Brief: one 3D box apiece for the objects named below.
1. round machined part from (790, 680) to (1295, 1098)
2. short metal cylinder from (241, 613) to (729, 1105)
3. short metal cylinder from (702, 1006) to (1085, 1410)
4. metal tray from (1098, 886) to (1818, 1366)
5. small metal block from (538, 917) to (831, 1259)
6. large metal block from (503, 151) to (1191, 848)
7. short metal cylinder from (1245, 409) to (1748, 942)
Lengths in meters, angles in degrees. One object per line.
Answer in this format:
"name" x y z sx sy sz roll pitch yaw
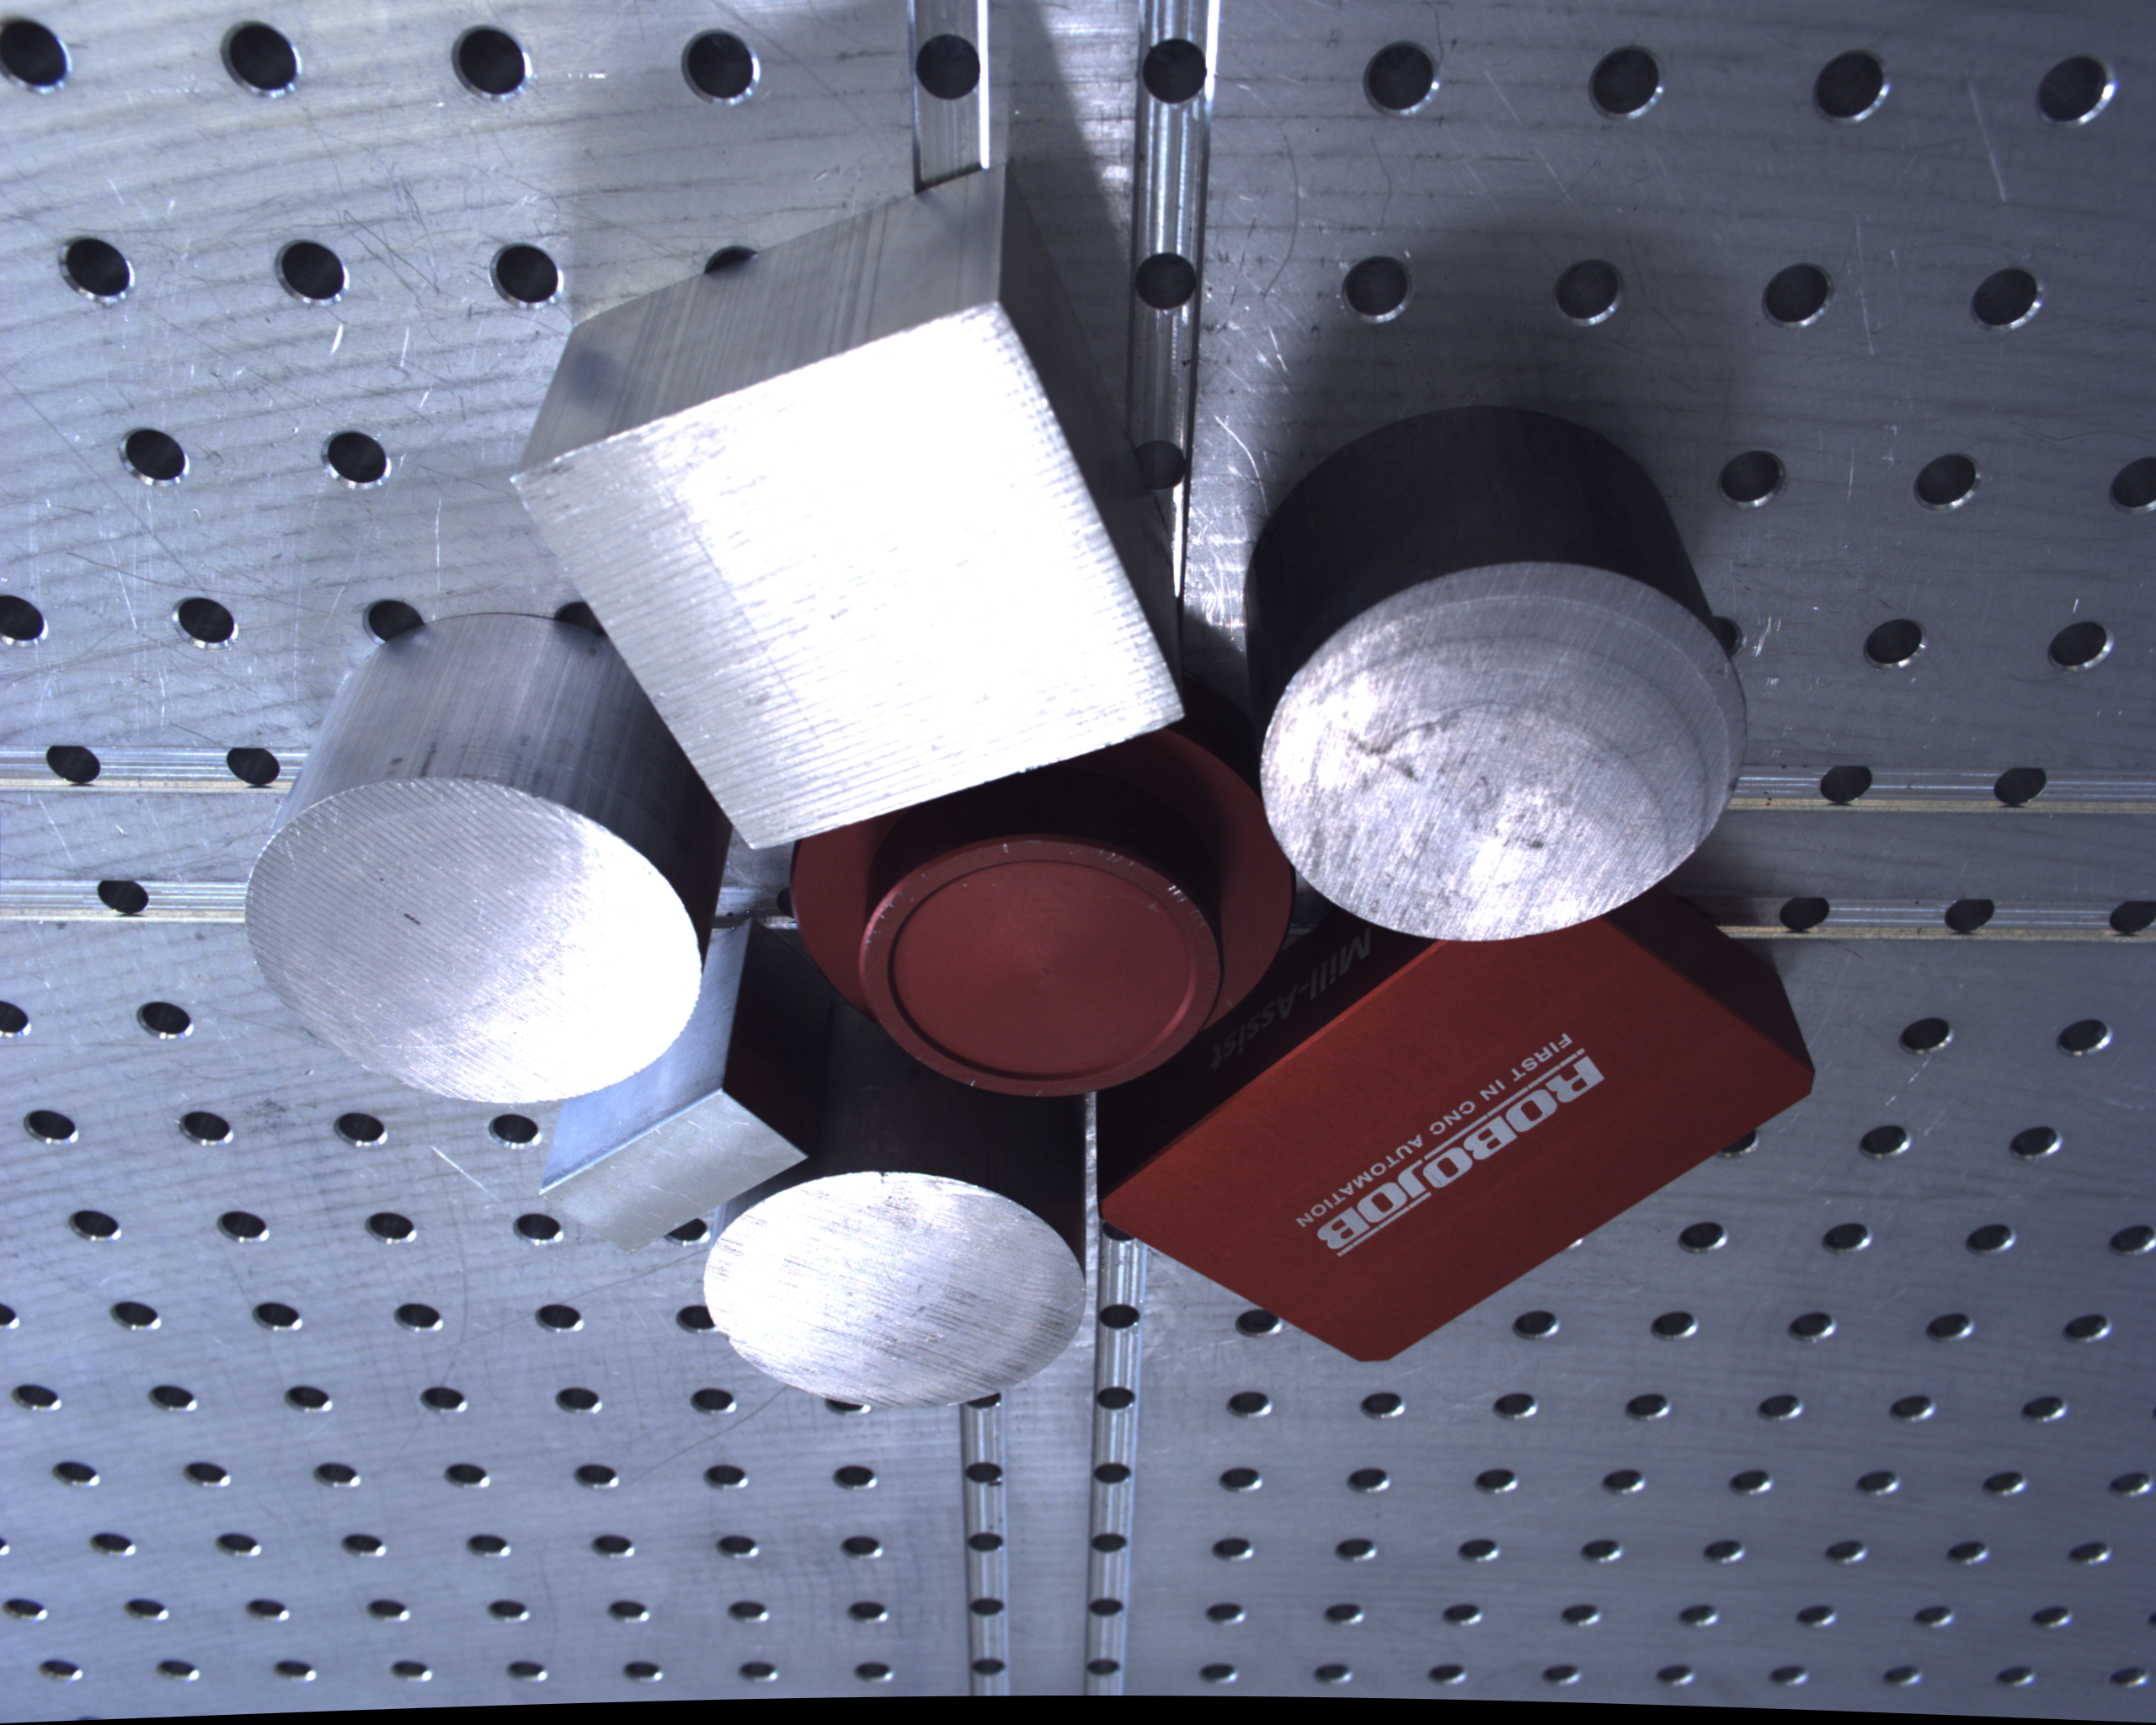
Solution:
"round machined part" -0.007 0.008 0.406 0.099 0.042 0.097 0 130 0
"short metal cylinder" -0.108 0.000 0.393 0.081 0.050 0.079 0 130 0
"short metal cylinder" -0.039 0.076 0.458 0.081 0.050 0.079 0 130 0
"metal tray" 0.078 0.051 0.451 0.090 0.030 0.129 33 122 -25
"small metal block" -0.080 0.046 0.433 0.050 0.050 0.025 -30 124 23
"large metal block" -0.034 -0.058 0.346 0.080 0.050 0.080 -17 128 13
"short metal cylinder" 0.071 -0.032 0.368 0.081 0.050 0.079 0 130 0
